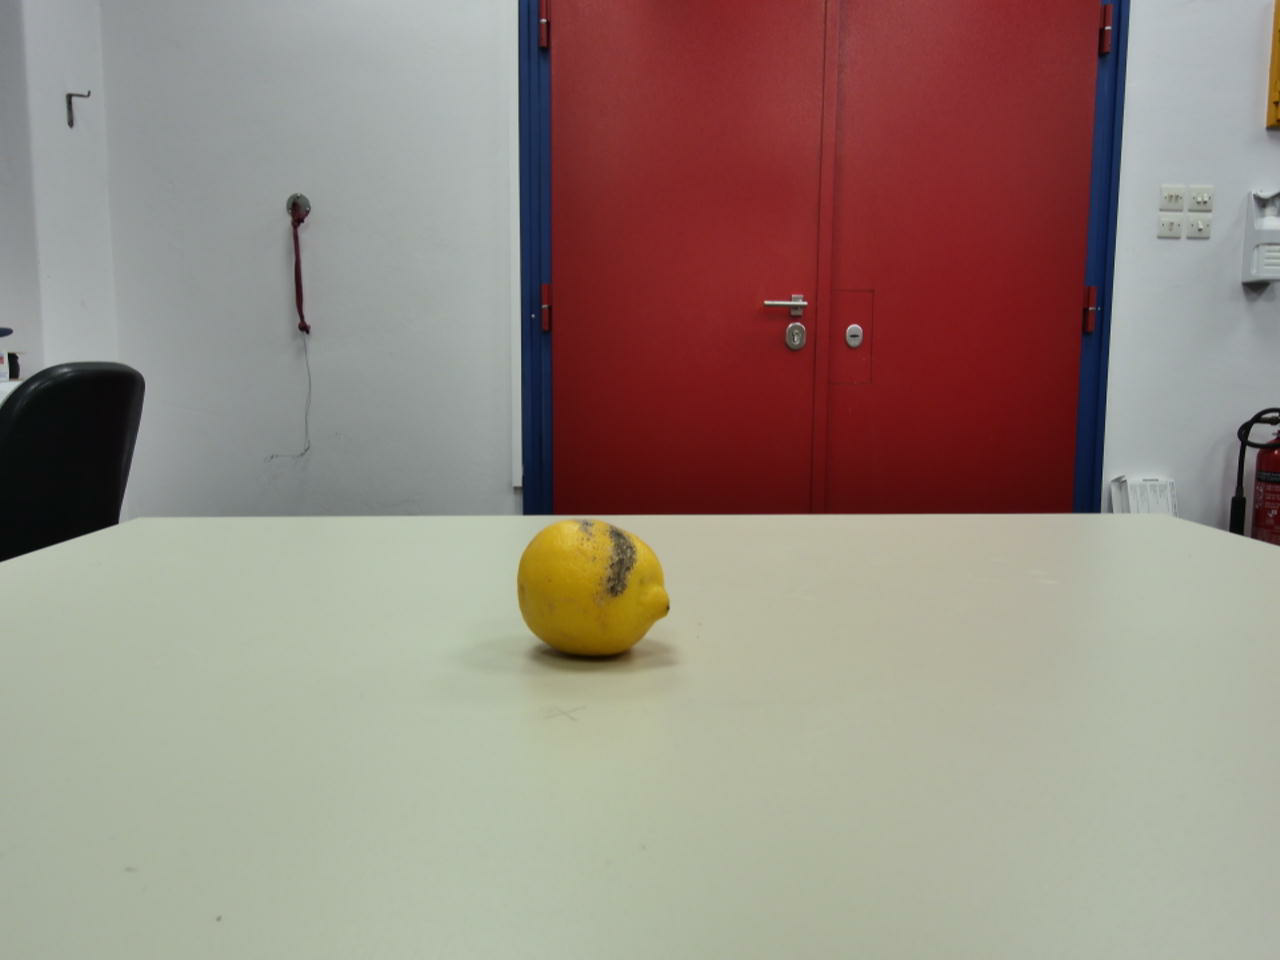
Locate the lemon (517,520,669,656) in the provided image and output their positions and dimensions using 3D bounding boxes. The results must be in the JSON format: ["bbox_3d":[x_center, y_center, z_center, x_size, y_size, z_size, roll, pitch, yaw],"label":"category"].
[{"bbox_3d":[-0.021,0.045,0.419,0.061,0.056,0.058,0,4,-8],"label":"lemon"}]
